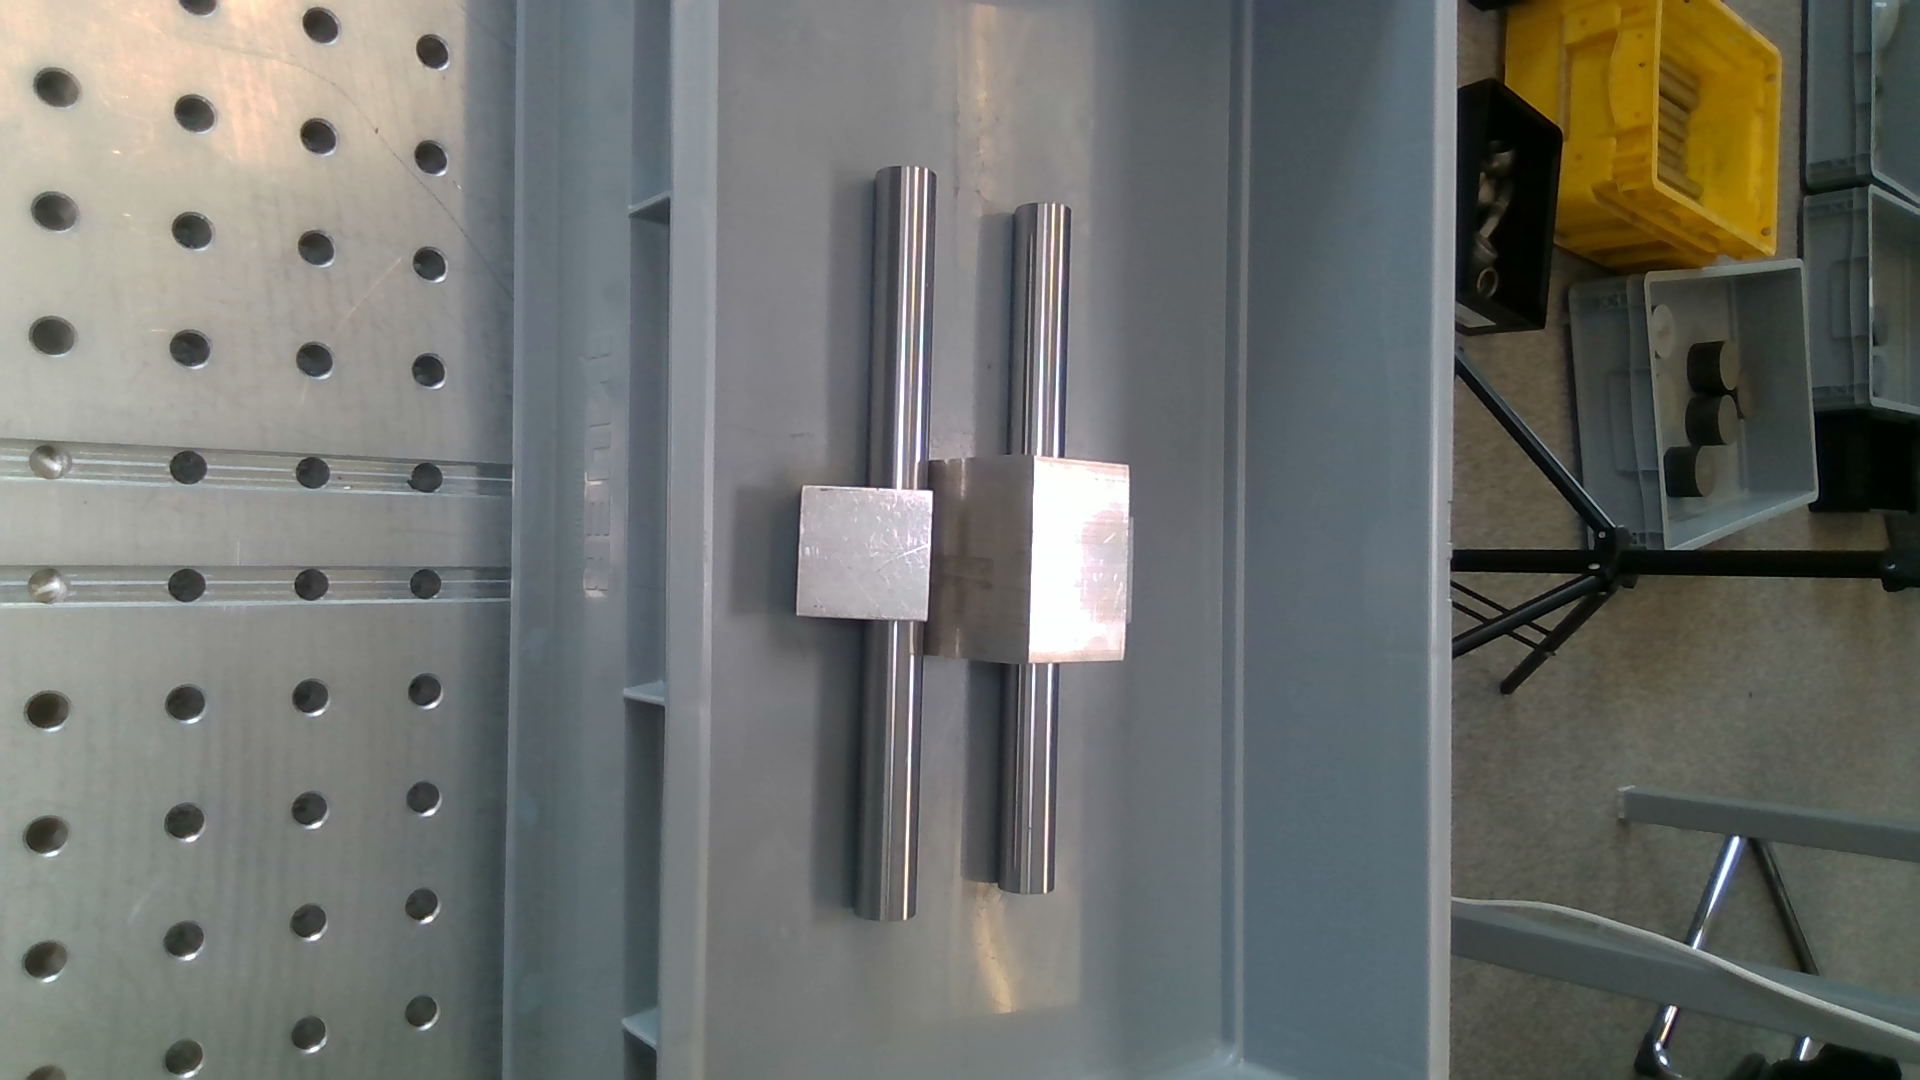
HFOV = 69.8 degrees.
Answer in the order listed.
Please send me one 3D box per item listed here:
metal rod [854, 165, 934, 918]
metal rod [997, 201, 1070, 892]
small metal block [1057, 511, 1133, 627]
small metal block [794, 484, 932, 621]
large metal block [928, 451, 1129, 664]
[{"bbox_3d":[-0.027,0.000,0.560,0.025,0.025,0.300,2,89,-40],"label":"metal rod"},{"bbox_3d":[0.033,0.002,0.609,0.025,0.025,0.300,2,89,-40],"label":"metal rod"},{"bbox_3d":[0.061,0.013,0.619,0.050,0.025,0.050,2,88,-75],"label":"small metal block"},{"bbox_3d":[-0.037,0.005,0.535,0.050,0.025,0.050,2,89,-3],"label":"small metal block"},{"bbox_3d":[0.022,0.007,0.563,0.050,0.080,0.080,2,89,-40],"label":"large metal block"}]
